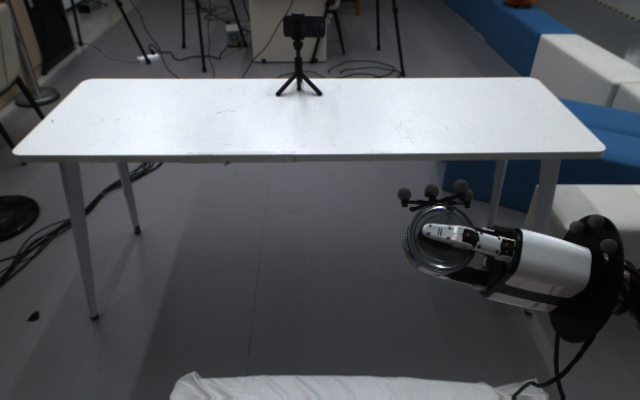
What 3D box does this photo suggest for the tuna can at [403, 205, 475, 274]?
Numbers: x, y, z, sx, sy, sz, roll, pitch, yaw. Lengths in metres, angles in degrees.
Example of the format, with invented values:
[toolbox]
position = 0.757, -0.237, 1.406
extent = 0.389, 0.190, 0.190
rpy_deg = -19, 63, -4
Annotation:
[tuna can]
position = 0.149, 0.046, 0.598
extent = 0.085, 0.034, 0.085
rpy_deg = 1, 73, -4
